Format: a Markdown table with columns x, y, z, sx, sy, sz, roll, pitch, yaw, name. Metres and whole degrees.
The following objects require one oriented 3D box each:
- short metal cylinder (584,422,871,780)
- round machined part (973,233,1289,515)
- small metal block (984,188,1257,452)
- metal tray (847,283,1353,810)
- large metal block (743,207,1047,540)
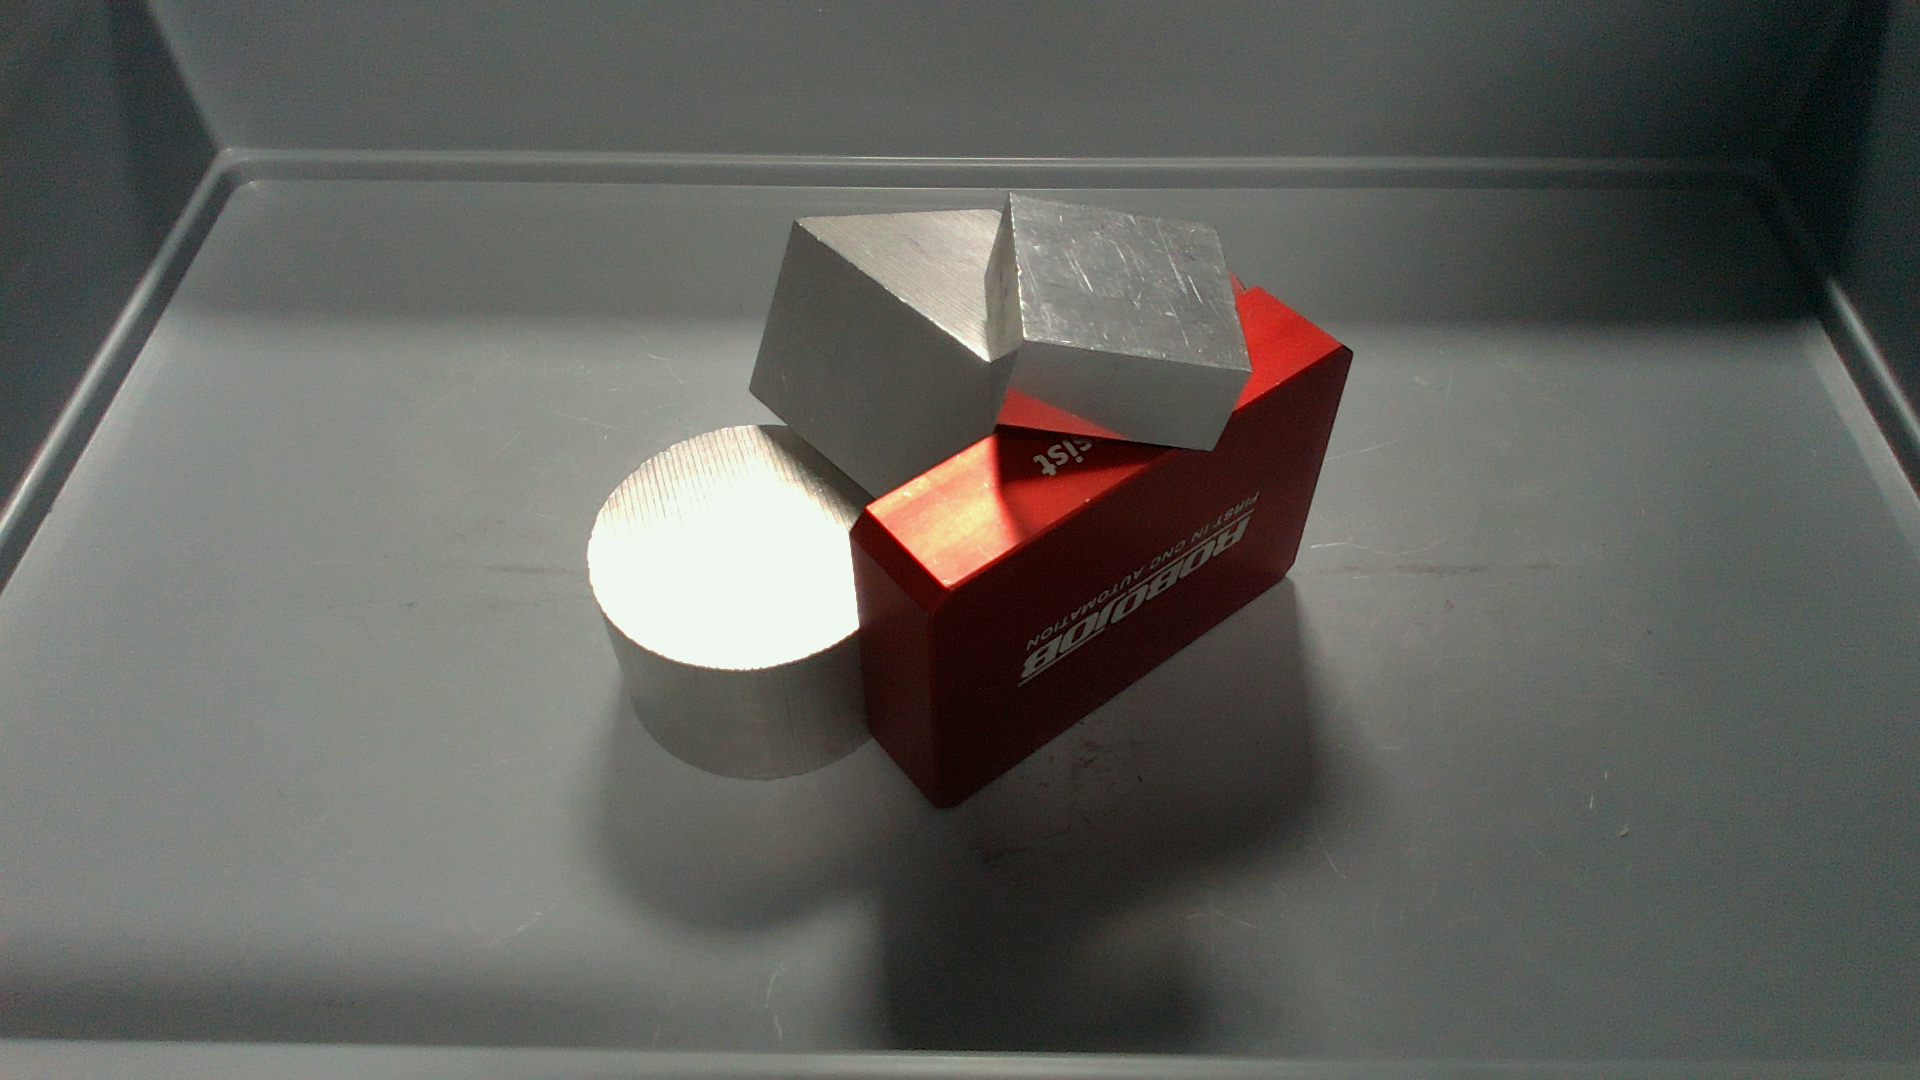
| x | y | z | sx | sy | sz | roll | pitch | yaw | name |
| --- | --- | --- | --- | --- | --- | --- | --- | --- | --- |
| -0.053 | 0.015 | 0.361 | 0.080 | 0.050 | 0.080 | 0 | 50 | 0 | short metal cylinder |
| 0.053 | -0.058 | 0.427 | 0.098 | 0.042 | 0.098 | 0 | 50 | 0 | round machined part |
| 0.034 | -0.049 | 0.307 | 0.050 | 0.025 | 0.050 | 7 | 48 | -11 | small metal block |
| 0.036 | 0.002 | 0.345 | 0.130 | 0.090 | 0.030 | -31 | 55 | -24 | metal tray |
| 0.003 | -0.047 | 0.366 | 0.080 | 0.050 | 0.080 | 39 | 35 | 28 | large metal block |
